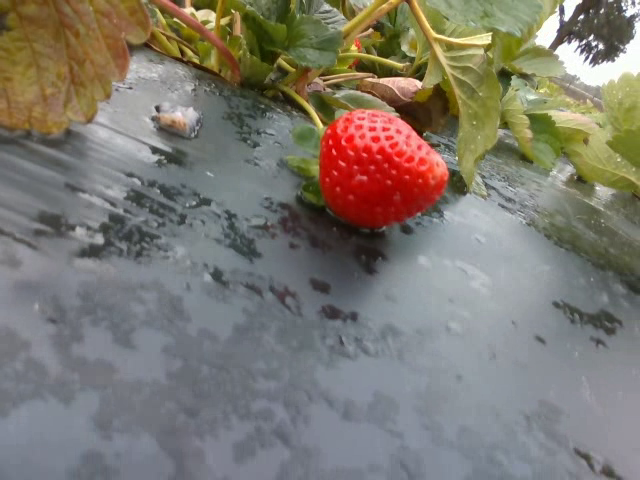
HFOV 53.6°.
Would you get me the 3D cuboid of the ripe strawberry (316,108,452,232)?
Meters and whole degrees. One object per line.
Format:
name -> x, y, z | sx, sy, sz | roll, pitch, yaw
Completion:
ripe strawberry -> 0.023, -0.023, 0.206 | 0.045, 0.048, 0.053 | -10, 19, -20
